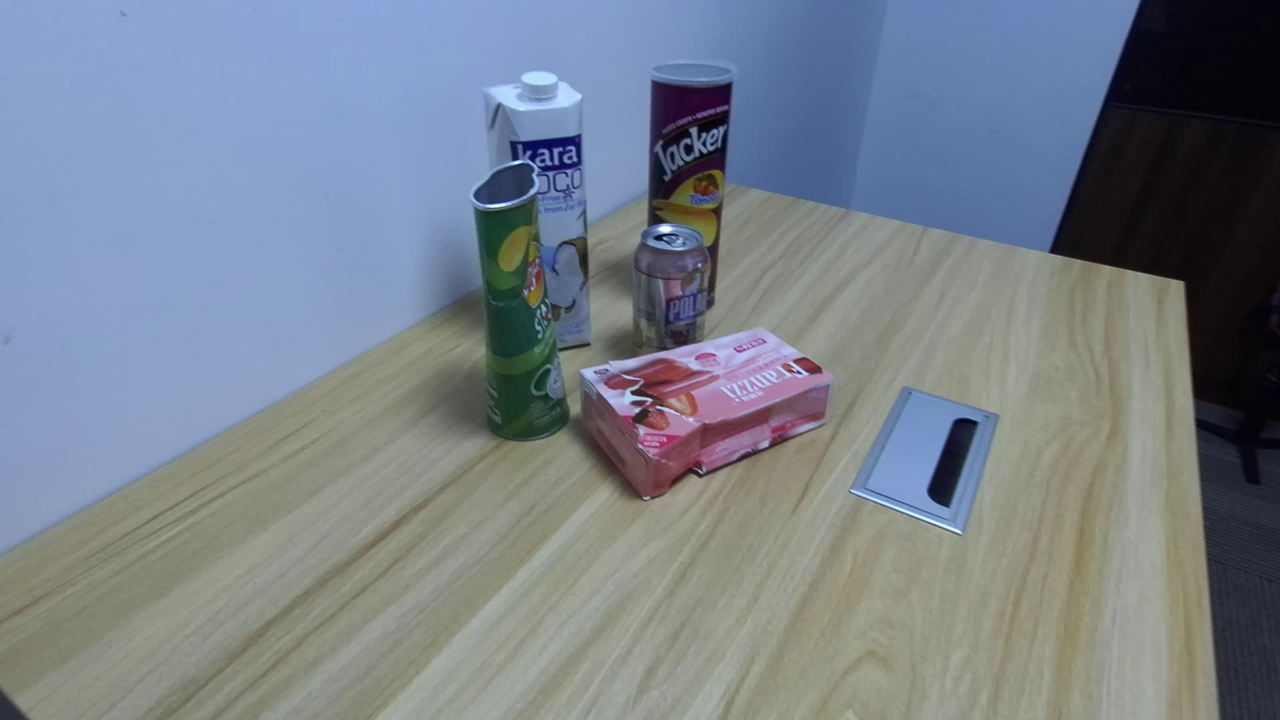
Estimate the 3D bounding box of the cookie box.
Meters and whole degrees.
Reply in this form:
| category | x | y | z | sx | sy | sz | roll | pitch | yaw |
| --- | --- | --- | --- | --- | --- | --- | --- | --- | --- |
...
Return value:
| category | x | y | z | sx | sy | sz | roll | pitch | yaw |
| --- | --- | --- | --- | --- | --- | --- | --- | --- | --- |
| cookie box | 0.055 | 0.029 | 0.562 | 0.186 | 0.059 | 0.104 | -18 | 40 | -28 |

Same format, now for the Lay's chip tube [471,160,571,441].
| category | x | y | z | sx | sy | sz | roll | pitch | yaw |
| --- | --- | --- | --- | --- | --- | --- | --- | --- | --- |
| Lay's chip tube | -0.093 | -0.038 | 0.538 | 0.069 | 0.200 | 0.074 | -20 | 38 | -28 |

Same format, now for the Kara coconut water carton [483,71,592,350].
| category | x | y | z | sx | sy | sz | roll | pitch | yaw |
| --- | --- | --- | --- | --- | --- | --- | --- | --- | --- |
| Kara coconut water carton | -0.087 | -0.126 | 0.628 | 0.077 | 0.245 | 0.075 | -12 | 34 | -19 |

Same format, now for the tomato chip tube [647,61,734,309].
| category | x | y | z | sx | sy | sz | roll | pitch | yaw |
| --- | --- | --- | --- | --- | --- | --- | --- | --- | --- |
| tomato chip tube | 0.047 | -0.163 | 0.699 | 0.078 | 0.234 | 0.078 | 1 | 33 | 0 |

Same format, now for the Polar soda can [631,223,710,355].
| category | x | y | z | sx | sy | sz | roll | pitch | yaw |
| --- | --- | --- | --- | --- | --- | --- | --- | --- | --- |
| Polar soda can | 0.028 | -0.054 | 0.634 | 0.067 | 0.126 | 0.067 | 1 | 34 | 0 |
